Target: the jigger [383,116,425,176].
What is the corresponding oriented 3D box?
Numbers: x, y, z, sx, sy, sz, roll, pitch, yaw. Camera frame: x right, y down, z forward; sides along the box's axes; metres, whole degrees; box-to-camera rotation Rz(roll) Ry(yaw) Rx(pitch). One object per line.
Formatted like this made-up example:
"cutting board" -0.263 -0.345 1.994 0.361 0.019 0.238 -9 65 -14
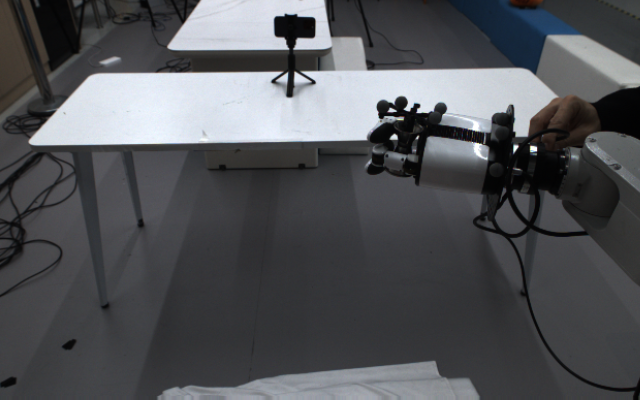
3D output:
"jigger" 0.122 -0.073 0.686 0.043 0.071 0.043 4 31 -2
